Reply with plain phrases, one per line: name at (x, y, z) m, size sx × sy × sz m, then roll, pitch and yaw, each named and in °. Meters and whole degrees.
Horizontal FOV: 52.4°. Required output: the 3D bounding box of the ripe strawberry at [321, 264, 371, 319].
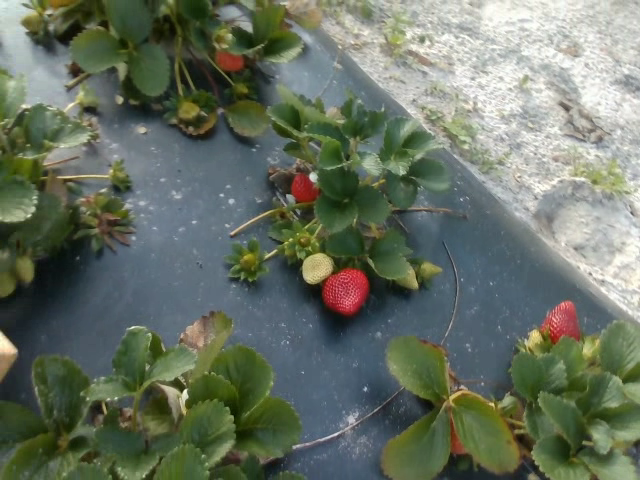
ripe strawberry at (0.023, 0.055, 0.624) m, size 0.051 × 0.048 × 0.055 m, roll -22°, pitch 21°, yaw 14°
